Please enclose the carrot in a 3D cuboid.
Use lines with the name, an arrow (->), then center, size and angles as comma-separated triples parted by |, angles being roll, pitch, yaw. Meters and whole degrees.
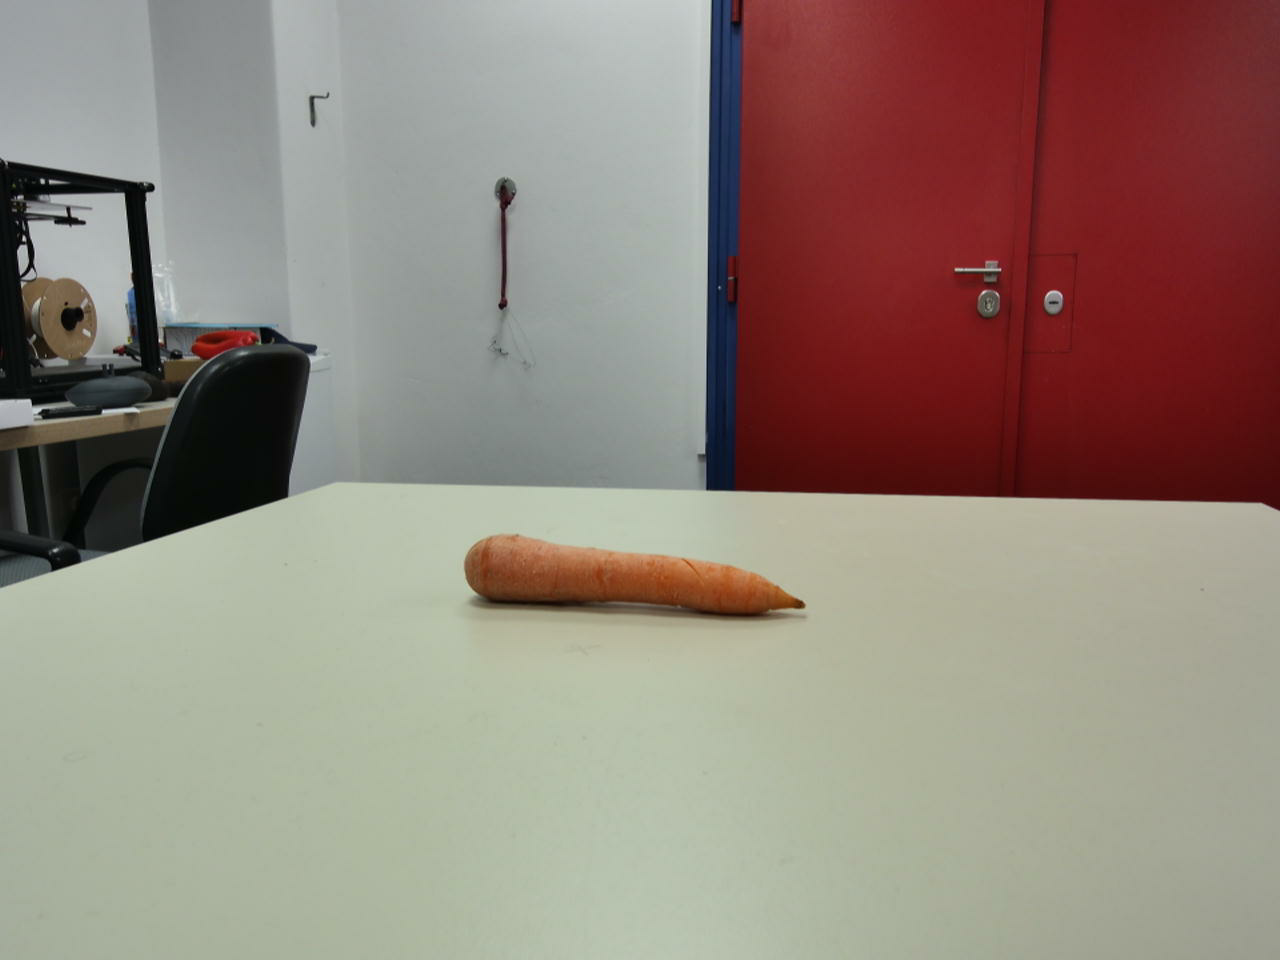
carrot -> -0.005, 0.053, 0.566 | 0.196, 0.041, 0.039 | 1, 7, 11
